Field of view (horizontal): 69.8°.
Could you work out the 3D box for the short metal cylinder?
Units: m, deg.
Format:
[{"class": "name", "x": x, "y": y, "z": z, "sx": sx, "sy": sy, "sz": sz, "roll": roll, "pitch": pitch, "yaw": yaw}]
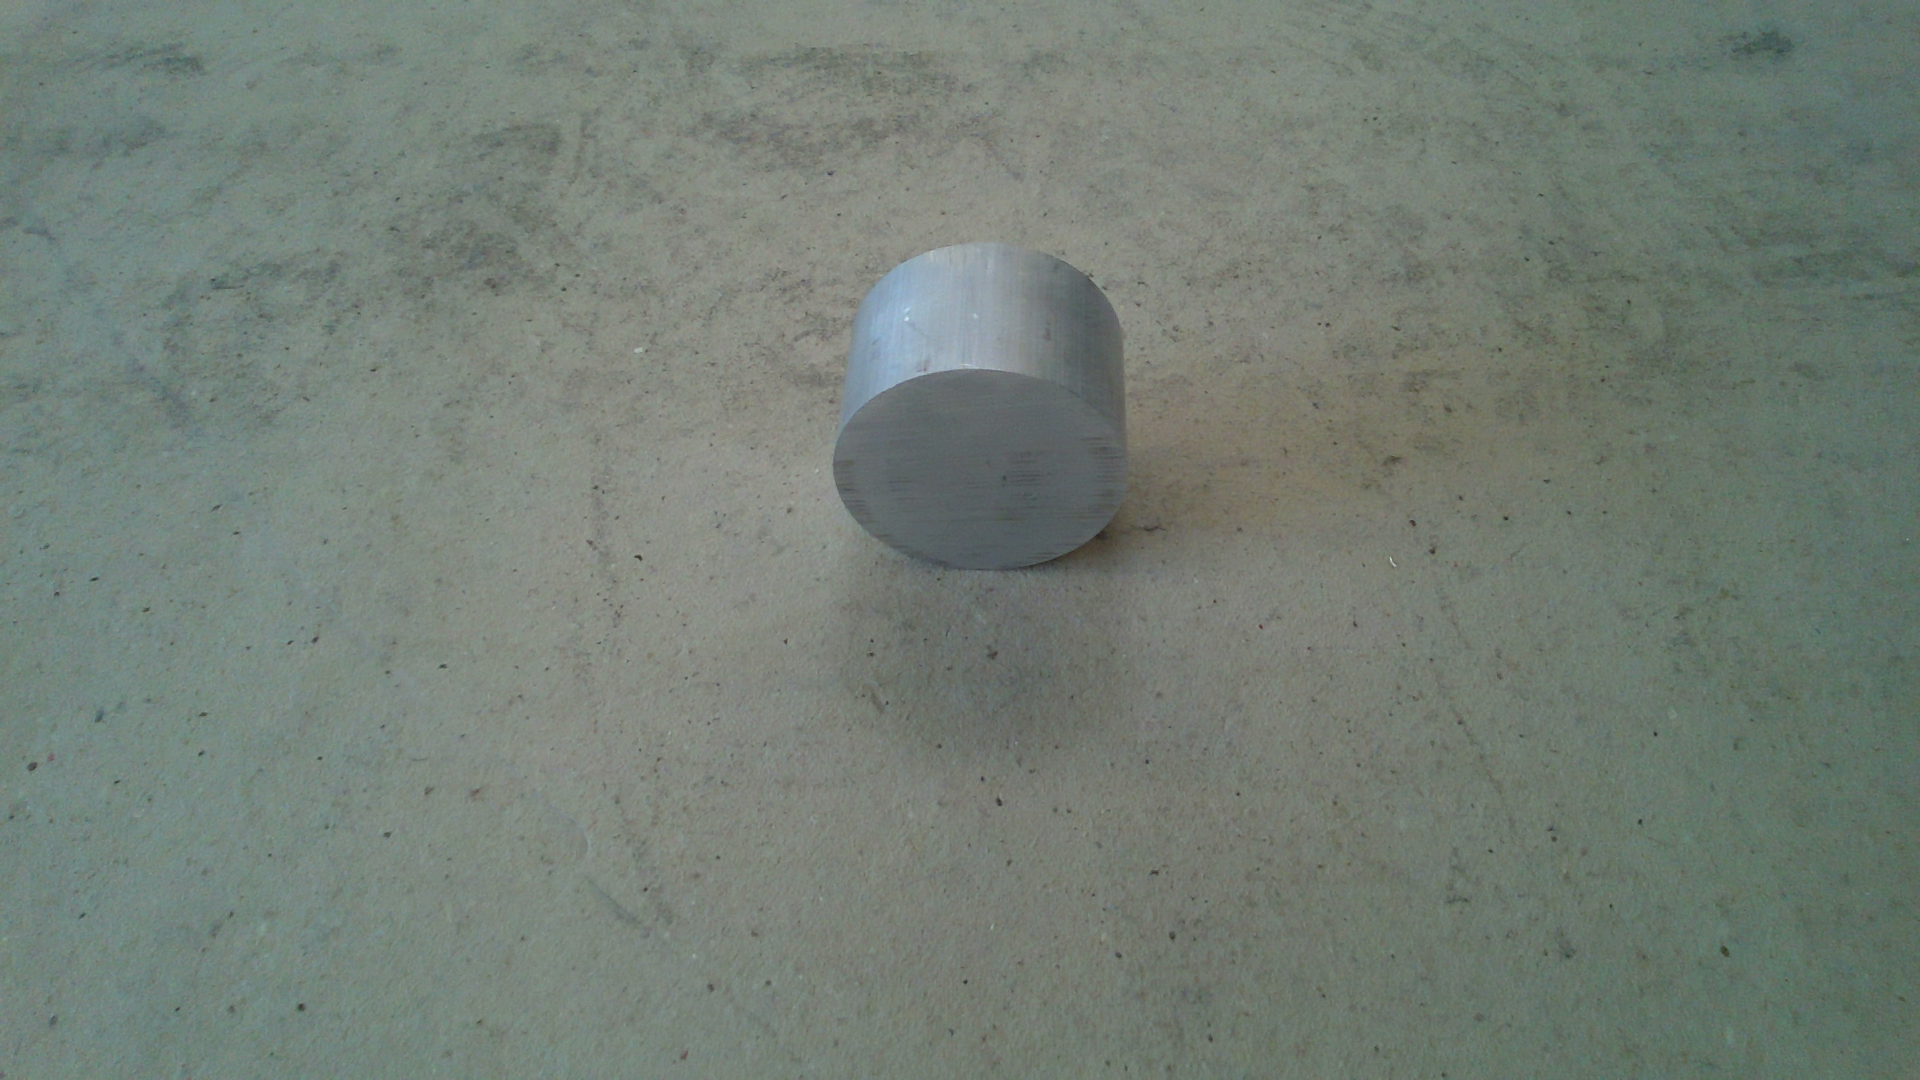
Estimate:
[{"class": "short metal cylinder", "x": 0.006, "y": -0.036, "z": 0.387, "sx": 0.080, "sy": 0.080, "sz": 0.050, "roll": 1, "pitch": 50, "yaw": 1}]
